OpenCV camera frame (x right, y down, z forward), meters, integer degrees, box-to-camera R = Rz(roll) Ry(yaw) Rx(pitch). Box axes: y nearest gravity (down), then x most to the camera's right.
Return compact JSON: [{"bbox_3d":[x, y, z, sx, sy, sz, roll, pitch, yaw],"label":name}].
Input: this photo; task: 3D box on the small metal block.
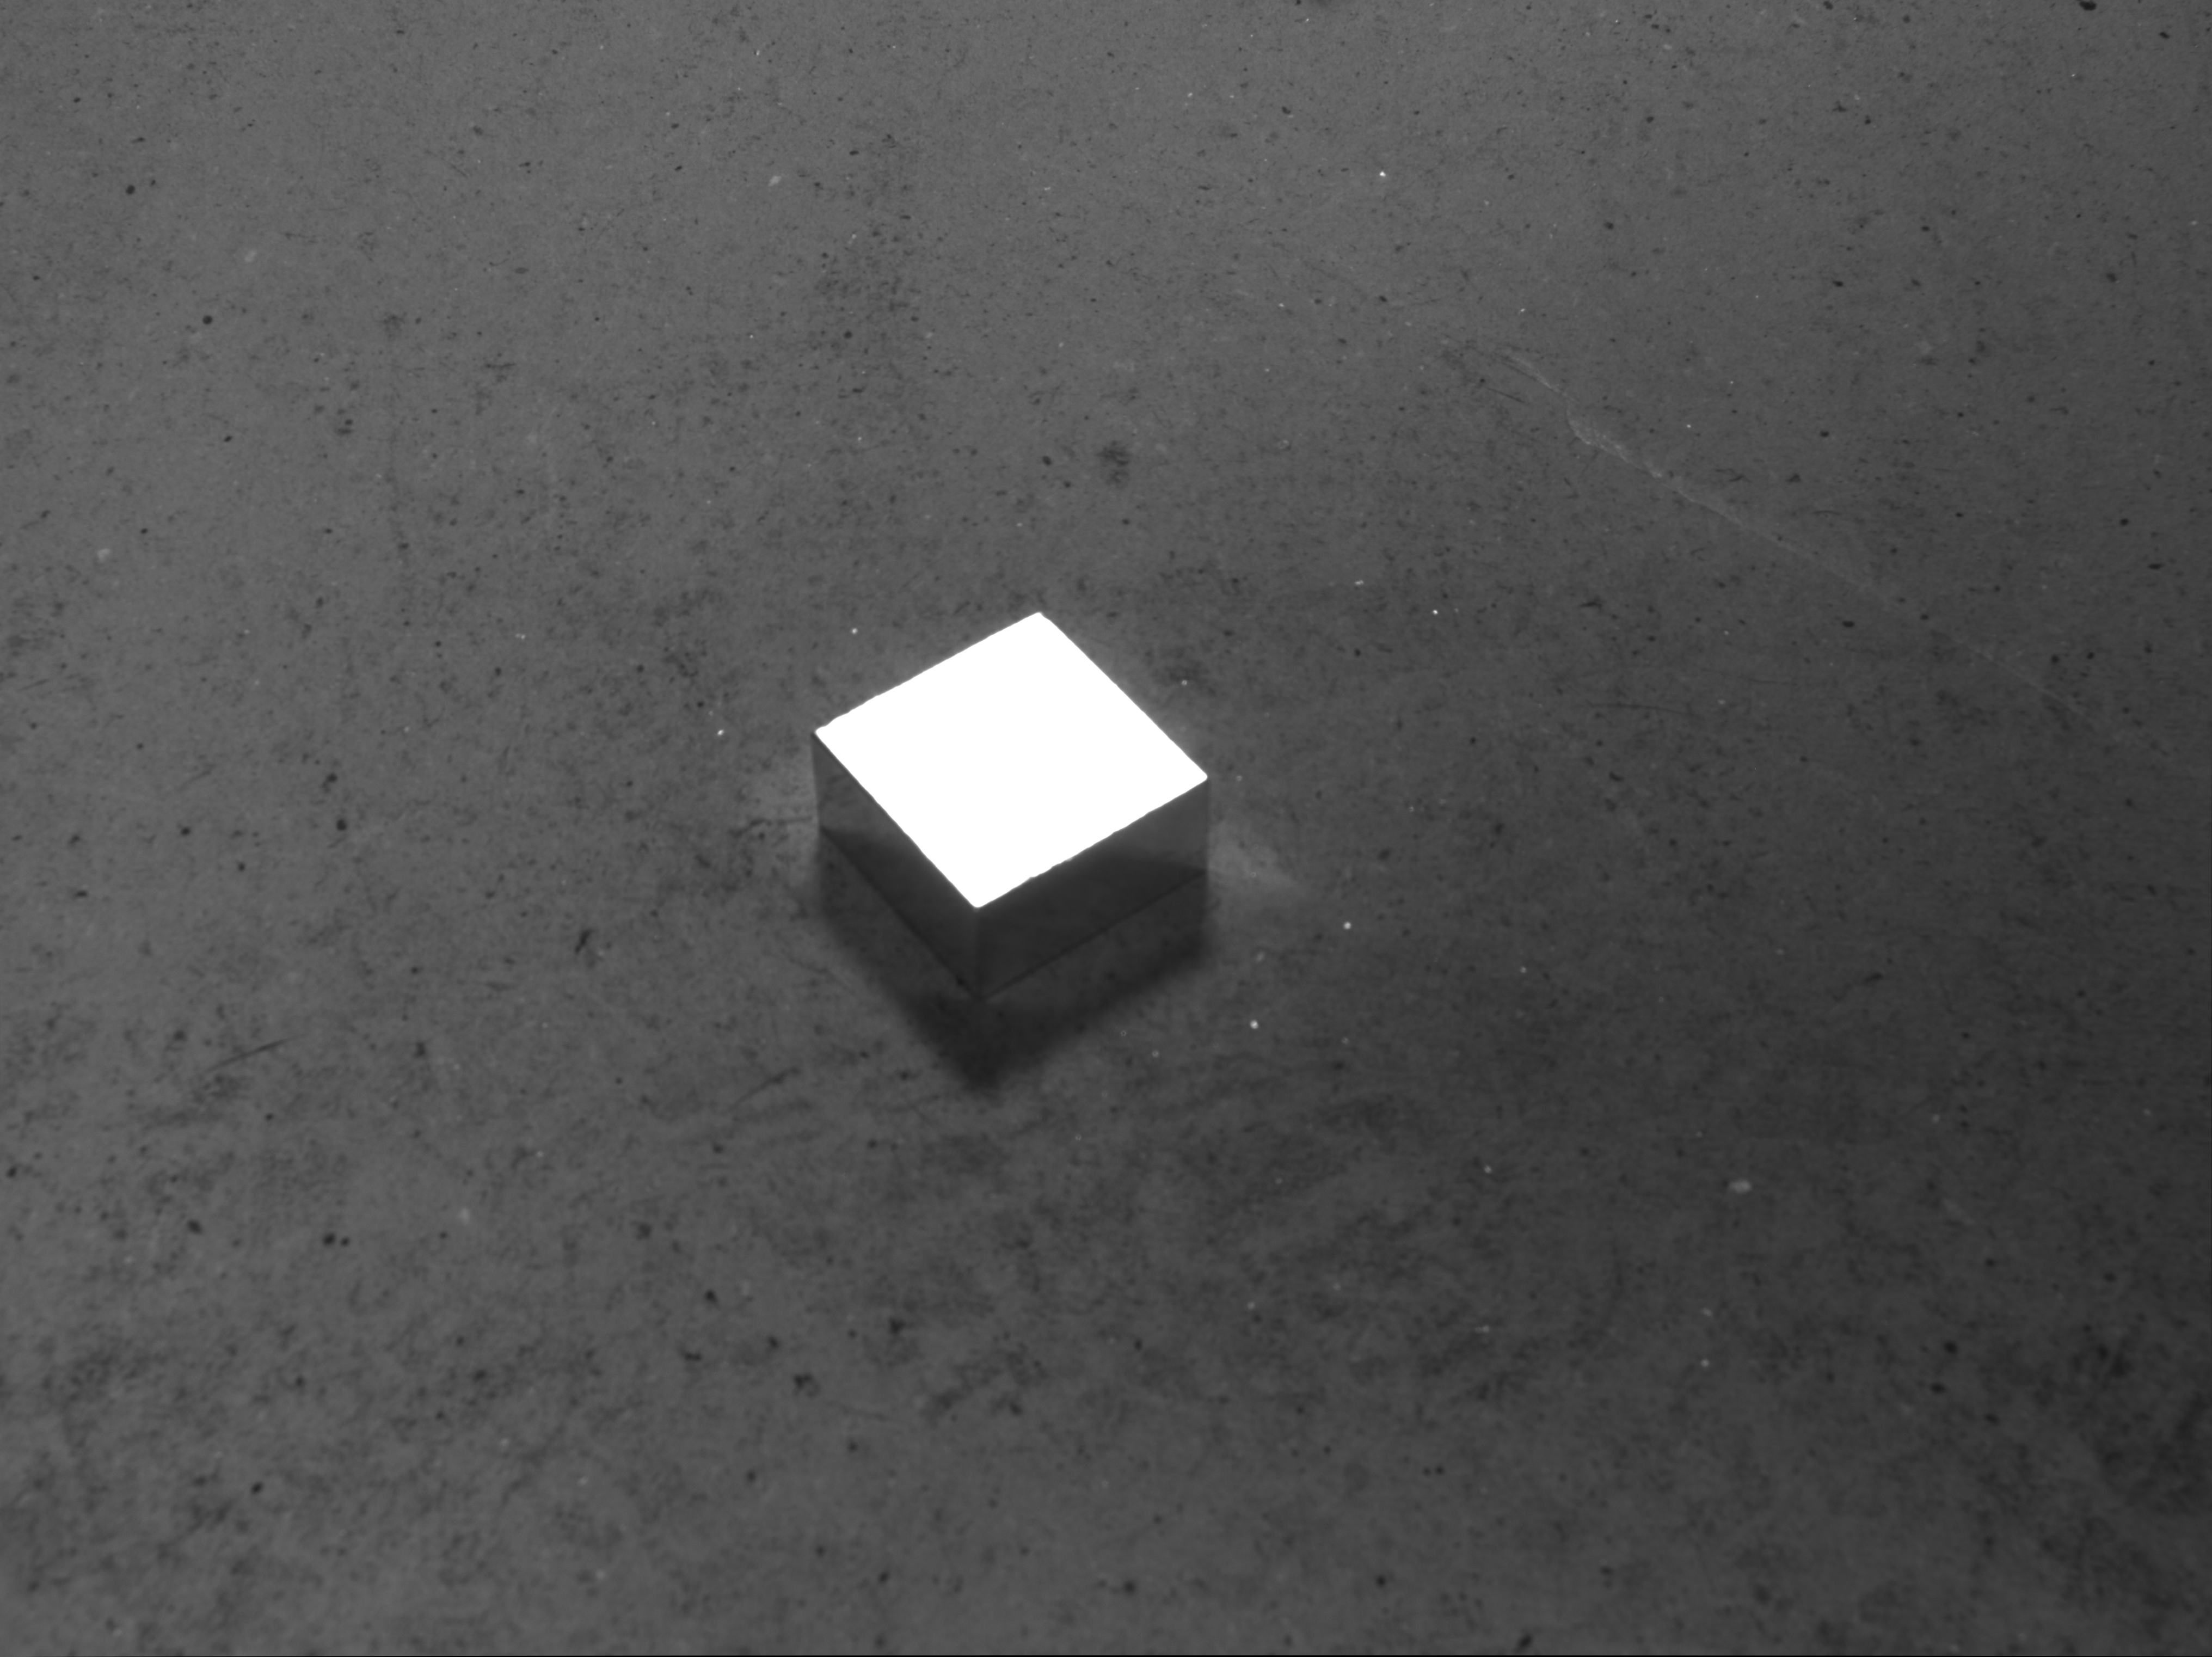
[{"bbox_3d":[-0.014,-0.004,0.646,0.050,0.025,0.050,-30,56,-23],"label":"small metal block"}]
